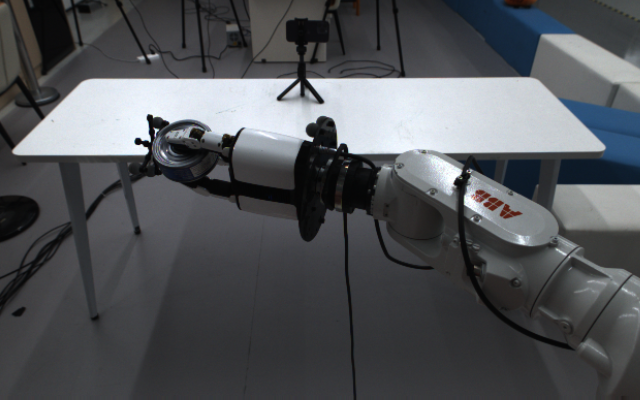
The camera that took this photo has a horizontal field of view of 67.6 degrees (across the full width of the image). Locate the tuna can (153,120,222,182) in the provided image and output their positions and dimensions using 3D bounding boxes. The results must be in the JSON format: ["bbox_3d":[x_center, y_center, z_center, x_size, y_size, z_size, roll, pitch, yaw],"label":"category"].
[{"bbox_3d":[-0.181,-0.065,0.657,0.085,0.034,0.085,-2,59,3],"label":"tuna can"}]
